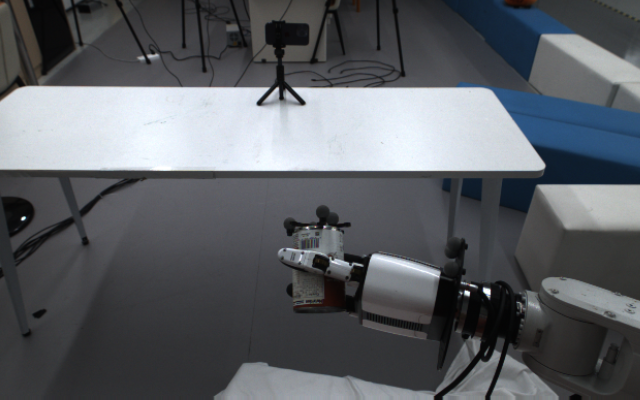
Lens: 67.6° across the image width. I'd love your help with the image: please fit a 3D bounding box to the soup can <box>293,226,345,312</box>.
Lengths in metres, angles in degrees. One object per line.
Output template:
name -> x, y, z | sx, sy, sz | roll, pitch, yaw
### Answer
soup can -> 0.001, 0.088, 0.611 | 0.067, 0.067, 0.101 | -2, 71, -5
